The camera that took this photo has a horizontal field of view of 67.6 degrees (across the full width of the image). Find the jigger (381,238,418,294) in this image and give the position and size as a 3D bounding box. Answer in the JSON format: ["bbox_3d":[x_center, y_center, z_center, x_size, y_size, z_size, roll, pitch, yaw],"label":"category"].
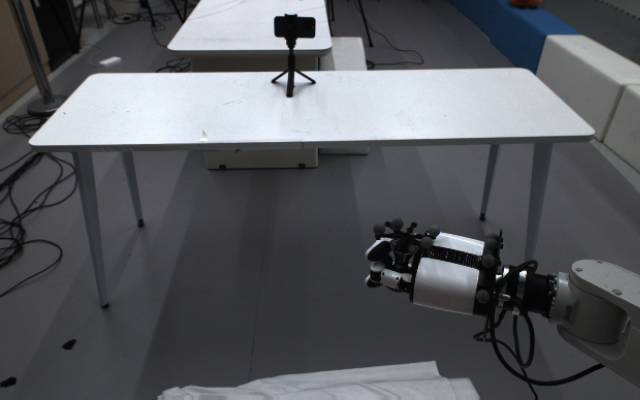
[{"bbox_3d":[0.125,0.096,0.726,0.043,0.071,0.043,3,25,-1],"label":"jigger"}]
